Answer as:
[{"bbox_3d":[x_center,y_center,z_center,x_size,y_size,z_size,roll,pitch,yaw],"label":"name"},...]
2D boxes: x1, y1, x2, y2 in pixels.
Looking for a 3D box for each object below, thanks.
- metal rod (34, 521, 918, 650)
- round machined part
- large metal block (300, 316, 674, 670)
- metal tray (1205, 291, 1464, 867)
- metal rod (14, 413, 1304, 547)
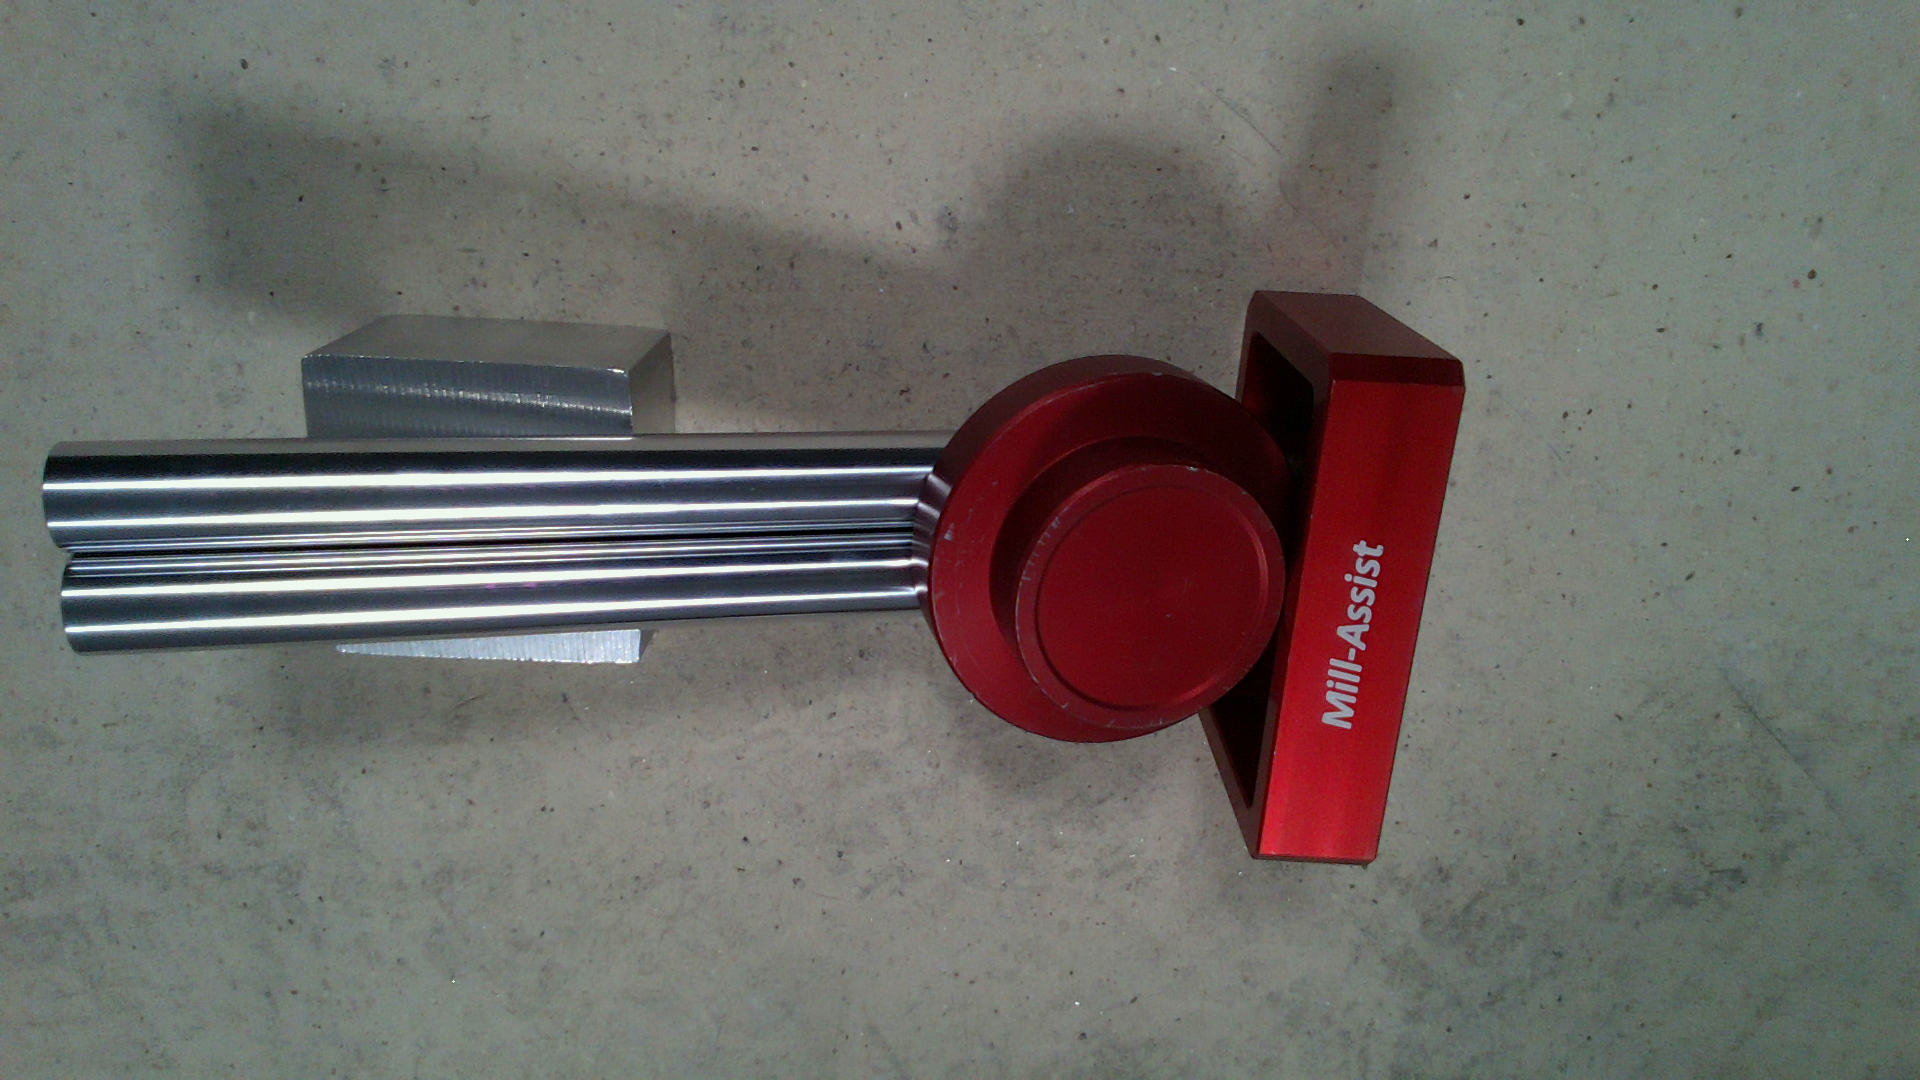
[{"bbox_3d":[-0.060,0.009,0.349,0.301,0.025,0.025,-2,111,-13],"label":"metal rod"},{"bbox_3d":[0.039,0.007,0.336,0.098,0.042,0.098,-4,113,-10],"label":"round machined part"},{"bbox_3d":[-0.122,-0.014,0.371,0.080,0.050,0.080,3,110,-1],"label":"large metal block"},{"bbox_3d":[0.092,0.007,0.362,0.030,0.090,0.130,3,110,-1],"label":"metal tray"},{"bbox_3d":[-0.059,-0.016,0.340,0.301,0.025,0.025,-2,111,-13],"label":"metal rod"}]
